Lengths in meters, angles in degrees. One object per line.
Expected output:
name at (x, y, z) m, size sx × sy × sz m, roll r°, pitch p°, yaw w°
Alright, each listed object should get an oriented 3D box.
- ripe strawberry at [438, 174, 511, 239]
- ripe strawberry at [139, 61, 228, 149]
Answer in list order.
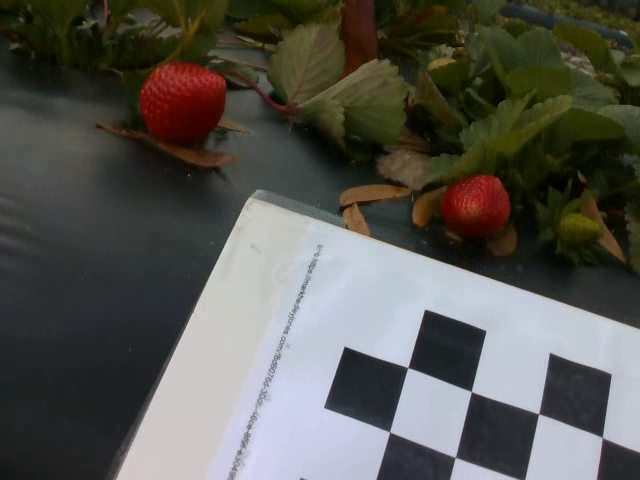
ripe strawberry at (0.077, -0.016, 0.285) m, size 0.040 × 0.037 × 0.042 m, roll 30°, pitch 17°, yaw 8°
ripe strawberry at (-0.065, -0.073, 0.299) m, size 0.042 × 0.047 × 0.065 m, roll 41°, pitch -26°, yaw -29°
